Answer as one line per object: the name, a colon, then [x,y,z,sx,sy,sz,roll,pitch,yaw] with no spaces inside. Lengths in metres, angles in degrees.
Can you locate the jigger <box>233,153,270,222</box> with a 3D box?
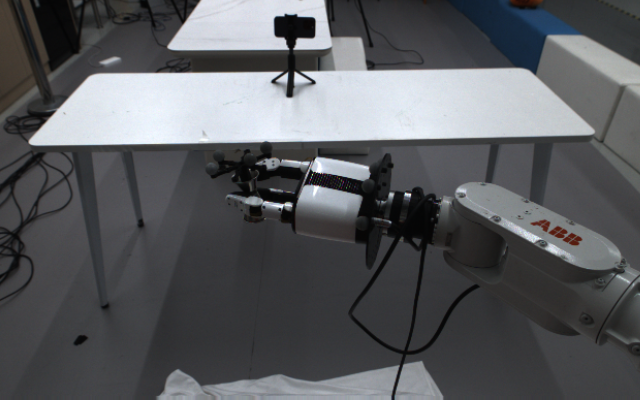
jigger: [-0.098,-0.006,0.696,0.043,0.071,0.043,-10,32,6]
